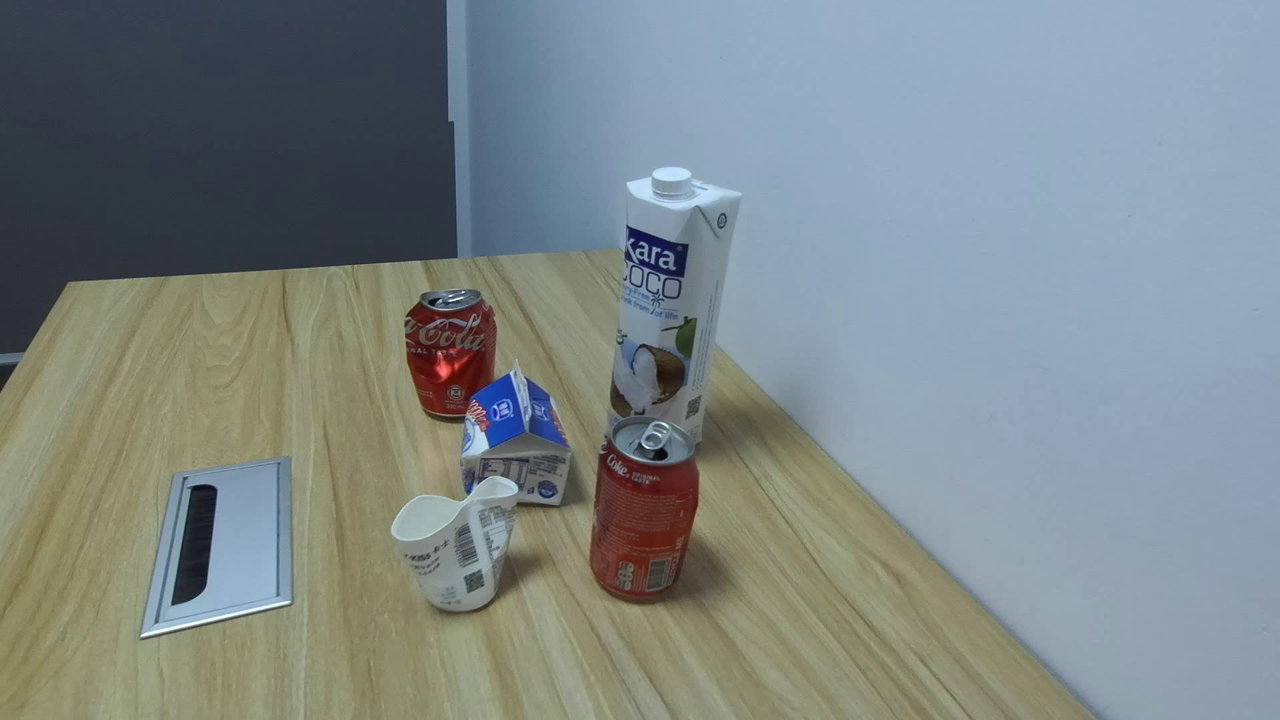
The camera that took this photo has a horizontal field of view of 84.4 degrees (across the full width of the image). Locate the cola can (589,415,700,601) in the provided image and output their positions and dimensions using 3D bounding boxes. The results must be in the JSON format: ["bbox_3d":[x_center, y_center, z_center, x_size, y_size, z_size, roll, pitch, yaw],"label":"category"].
[{"bbox_3d":[0.000,0.098,0.475,0.066,0.117,0.072,-9,33,-22],"label":"cola can"}]

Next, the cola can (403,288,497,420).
[{"bbox_3d":[-0.166,-0.007,0.639,0.069,0.112,0.066,13,29,14],"label":"cola can"}]

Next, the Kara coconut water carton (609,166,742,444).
[{"bbox_3d":[0.023,-0.035,0.580,0.076,0.245,0.075,26,34,33],"label":"Kara coconut water carton"}]

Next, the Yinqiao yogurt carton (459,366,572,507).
[{"bbox_3d":[-0.099,0.057,0.551,0.080,0.097,0.074,2,30,-19],"label":"Yinqiao yogurt carton"}]

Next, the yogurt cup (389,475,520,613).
[{"bbox_3d":[-0.118,0.120,0.459,0.053,0.071,0.075,16,31,15],"label":"yogurt cup"}]
